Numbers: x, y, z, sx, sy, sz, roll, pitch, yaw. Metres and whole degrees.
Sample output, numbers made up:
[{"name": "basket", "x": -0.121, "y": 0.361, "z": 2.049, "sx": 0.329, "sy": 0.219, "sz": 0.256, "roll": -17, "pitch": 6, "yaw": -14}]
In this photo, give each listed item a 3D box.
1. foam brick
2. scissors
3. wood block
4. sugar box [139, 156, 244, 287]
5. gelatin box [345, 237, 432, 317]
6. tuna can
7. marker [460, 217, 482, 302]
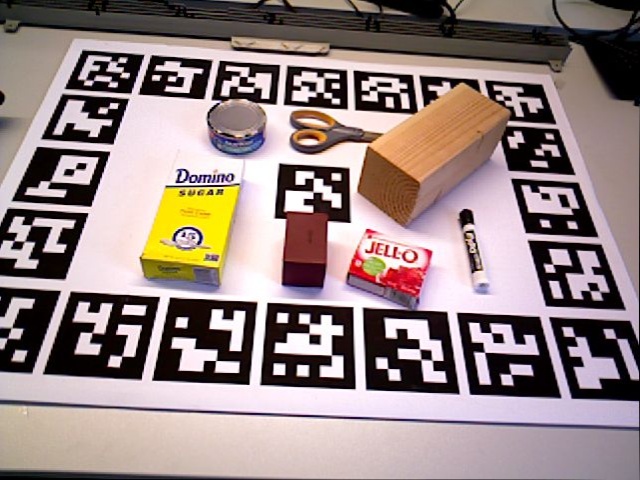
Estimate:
[{"name": "foam brick", "x": -0.018, "y": 0.019, "z": 0.658, "sx": 0.052, "sy": 0.052, "sz": 0.077, "roll": 6, "pitch": 56, "yaw": -1}, {"name": "scissors", "x": 0.046, "y": -0.148, "z": 0.806, "sx": 0.202, "sy": 0.016, "sz": 0.086, "roll": 9, "pitch": 55, "yaw": 5}, {"name": "wood block", "x": 0.163, "y": -0.108, "z": 0.745, "sx": 0.202, "sy": 0.093, "sz": 0.090, "roll": -36, "pitch": 64, "yaw": -26}, {"name": "sugar box", "x": -0.157, "y": -0.028, "z": 0.690, "sx": 0.092, "sy": 0.046, "sz": 0.173, "roll": 8, "pitch": 55, "yaw": 0}, {"name": "gelatin box", "x": 0.084, "y": 0.044, "z": 0.667, "sx": 0.089, "sy": 0.031, "sz": 0.072, "roll": 20, "pitch": 57, "yaw": 9}, {"name": "tuna can", "x": -0.125, "y": -0.162, "z": 0.787, "sx": 0.085, "sy": 0.034, "sz": 0.084, "roll": 2, "pitch": 56, "yaw": -3}, {"name": "marker", "x": 0.193, "y": 0.022, "z": 0.695, "sx": 0.019, "sy": 0.020, "sz": 0.119, "roll": 5, "pitch": 57, "yaw": -2}]
